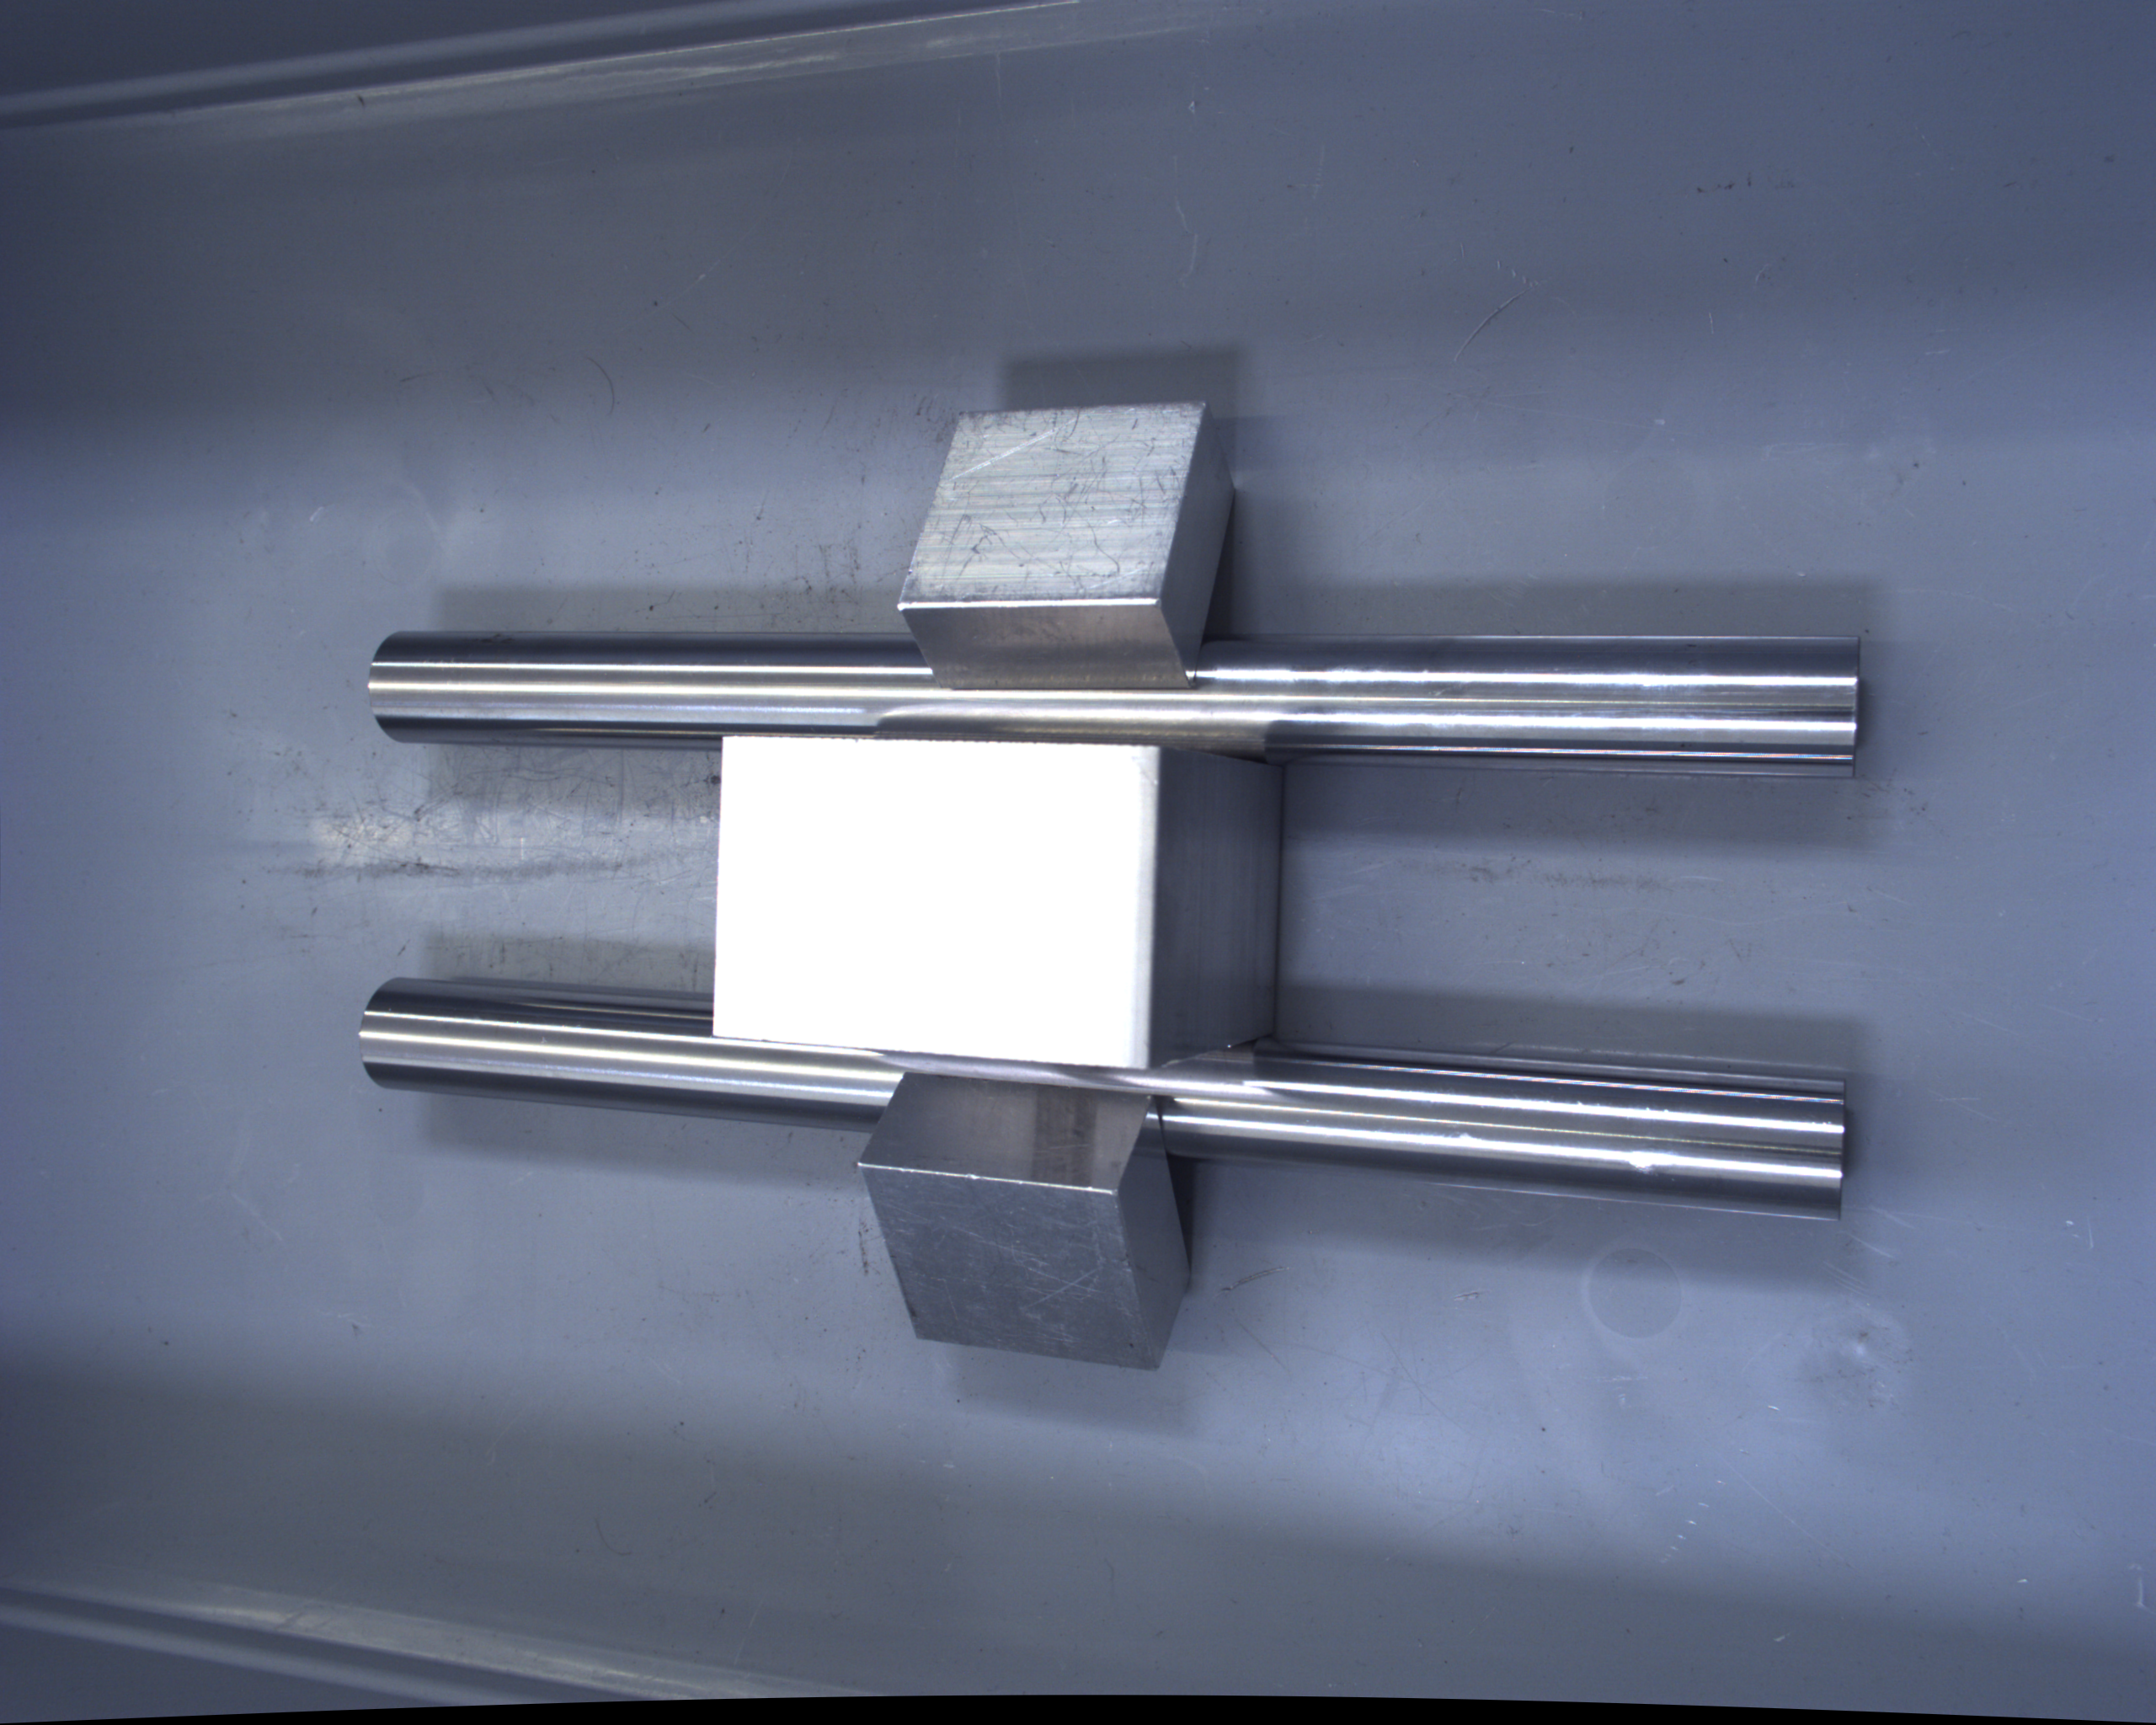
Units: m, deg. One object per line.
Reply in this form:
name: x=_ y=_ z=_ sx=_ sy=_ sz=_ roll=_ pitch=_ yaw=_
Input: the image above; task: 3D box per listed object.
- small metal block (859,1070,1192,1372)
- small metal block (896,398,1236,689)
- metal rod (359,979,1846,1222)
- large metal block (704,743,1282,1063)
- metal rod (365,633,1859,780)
small metal block: x=-0.009 y=0.068 z=0.399 sx=0.050 sy=0.025 sz=0.050 roll=3 pitch=129 yaw=19
small metal block: x=-0.001 y=-0.060 z=0.397 sx=0.050 sy=0.025 sz=0.050 roll=1 pitch=56 yaw=19
metal rod: x=-0.009 y=0.044 z=0.412 sx=0.301 sy=0.025 sz=0.025 roll=2 pitch=91 yaw=19
large metal block: x=-0.012 y=0.006 z=0.383 sx=0.080 sy=0.080 sz=0.050 roll=2 pitch=91 yaw=20
metal rod: x=-0.007 y=-0.032 z=0.410 sx=0.301 sy=0.025 sz=0.025 roll=2 pitch=91 yaw=19
